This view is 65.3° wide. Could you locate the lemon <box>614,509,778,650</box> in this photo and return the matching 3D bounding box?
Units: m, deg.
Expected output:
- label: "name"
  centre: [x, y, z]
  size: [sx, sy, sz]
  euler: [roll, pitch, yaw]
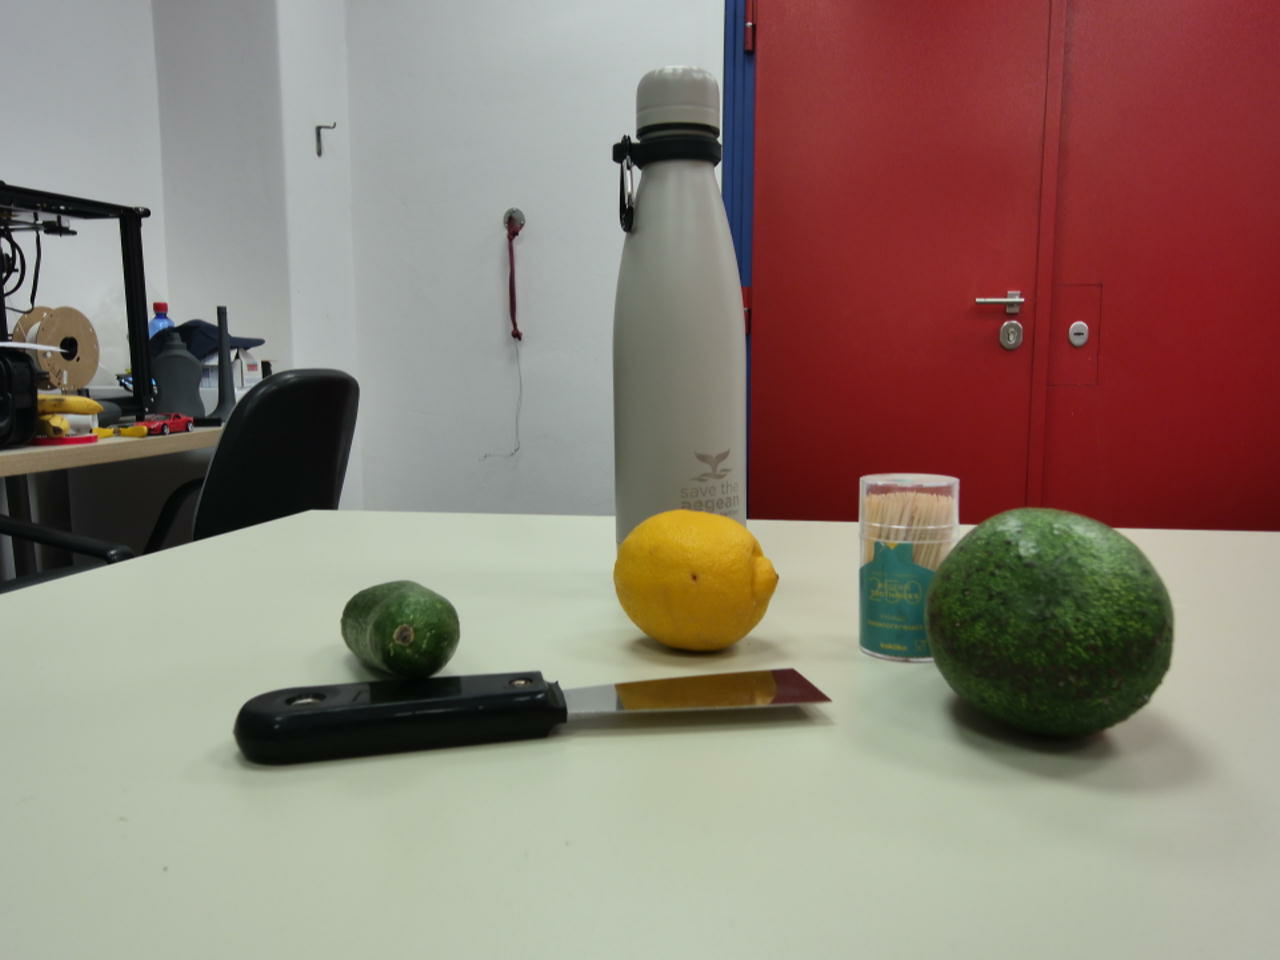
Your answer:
- label: "lemon"
  centre: [0.022, 0.043, 0.431]
  size: [0.060, 0.059, 0.067]
  euler: [-2, 5, -36]
